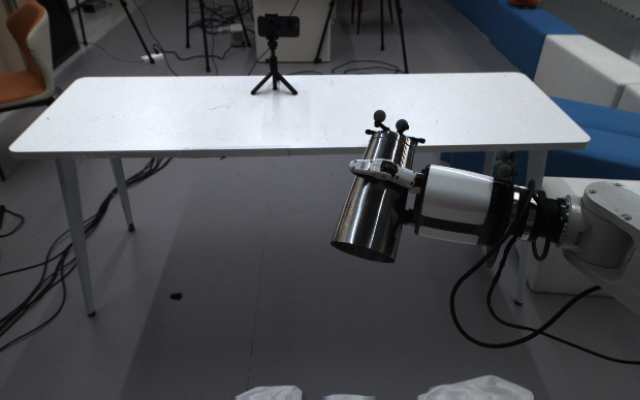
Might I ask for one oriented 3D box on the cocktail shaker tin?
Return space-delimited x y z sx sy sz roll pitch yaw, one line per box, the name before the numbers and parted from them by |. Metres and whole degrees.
cocktail shaker tin | 0.083 -0.007 0.677 0.093 0.093 0.170 13 75 16
